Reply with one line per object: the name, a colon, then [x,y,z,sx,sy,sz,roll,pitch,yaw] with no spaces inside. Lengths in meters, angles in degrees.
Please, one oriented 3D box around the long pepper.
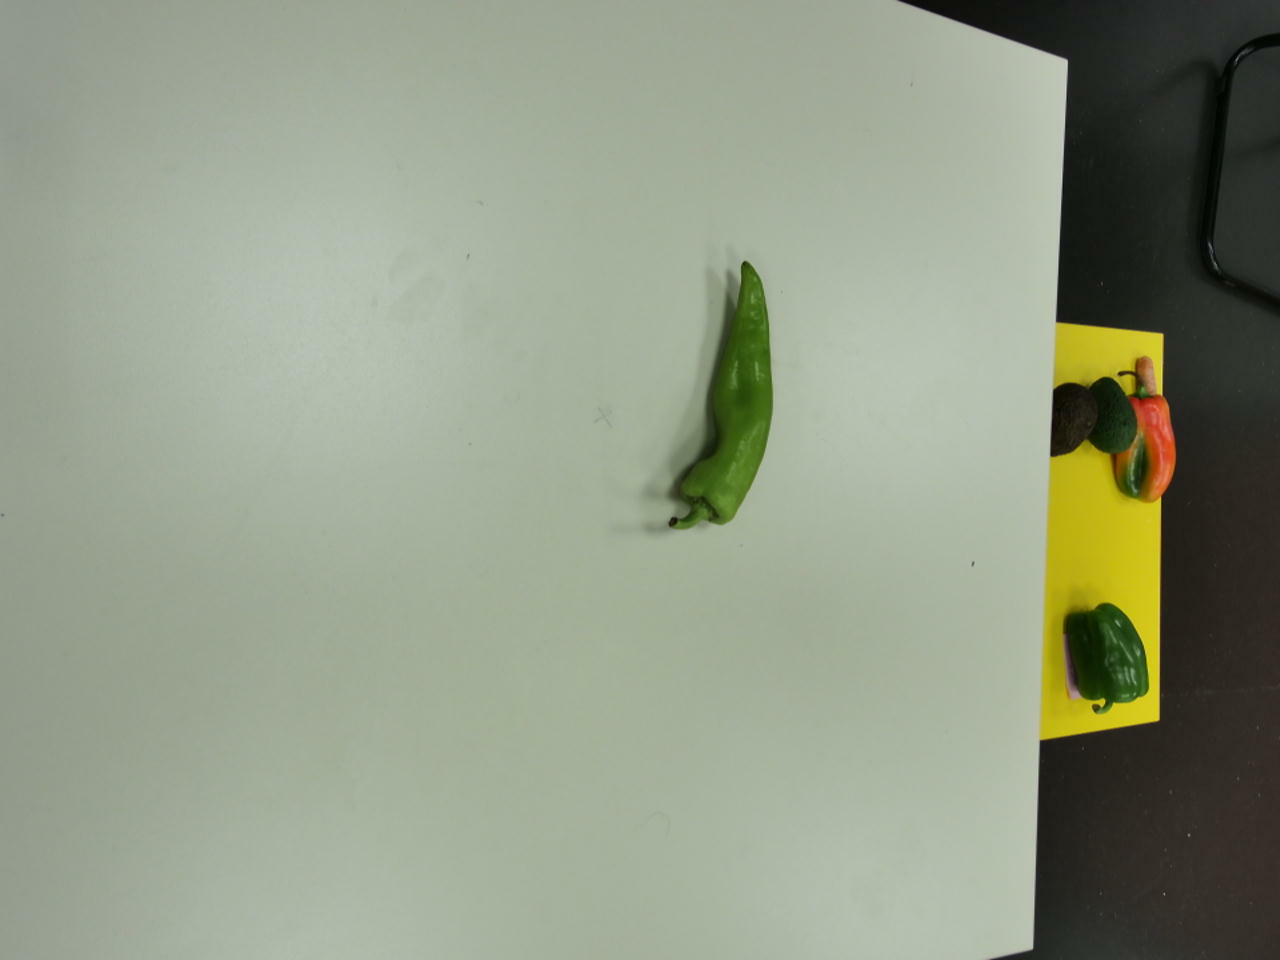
long pepper: [0.071,-0.054,0.724,0.065,0.045,0.204,22,80,-27]
